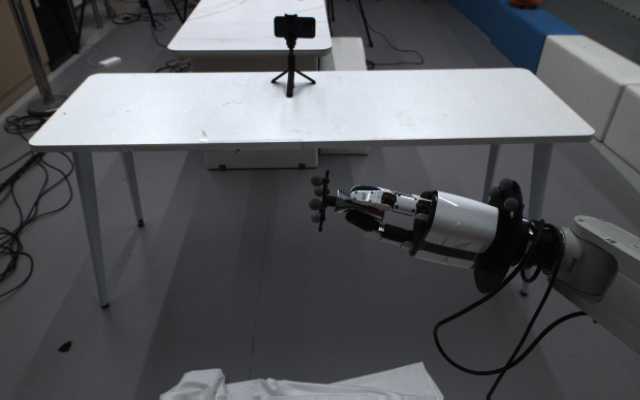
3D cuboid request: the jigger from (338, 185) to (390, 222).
[{"bbox_3d":[0.063,0.001,0.683,0.071,0.043,0.043,5,35,2],"label":"jigger"}]
